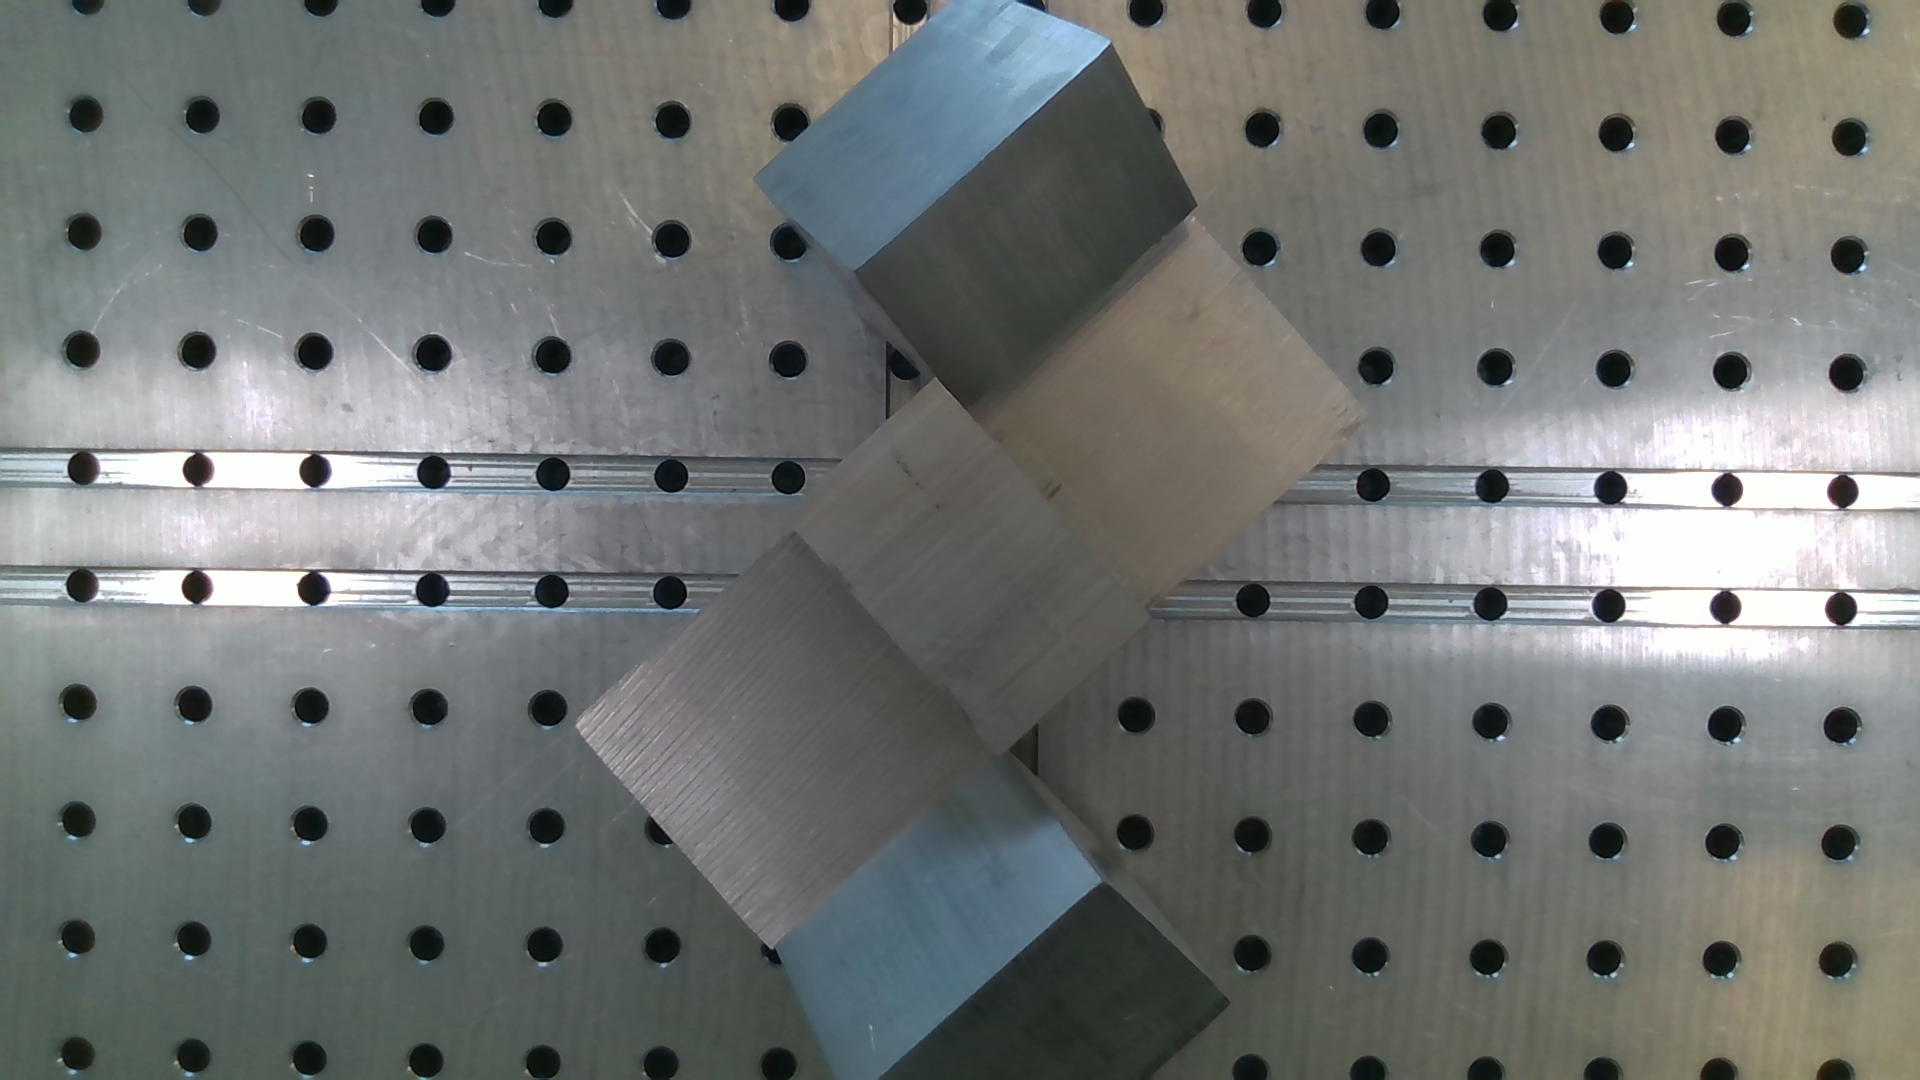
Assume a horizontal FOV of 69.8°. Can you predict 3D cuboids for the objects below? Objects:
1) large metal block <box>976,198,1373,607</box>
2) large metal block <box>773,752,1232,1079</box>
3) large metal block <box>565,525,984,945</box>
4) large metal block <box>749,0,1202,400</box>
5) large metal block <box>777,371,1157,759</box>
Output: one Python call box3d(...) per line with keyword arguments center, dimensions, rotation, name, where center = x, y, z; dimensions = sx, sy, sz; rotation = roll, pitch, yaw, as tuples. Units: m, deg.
box3d(center=(0.052, -0.037, 0.385), dimensions=(0.080, 0.050, 0.080), rotation=(-42, 89, 1), name="large metal block")
box3d(center=(0.012, 0.114, 0.364), dimensions=(0.080, 0.050, 0.080), rotation=(-41, 130, 0), name="large metal block")
box3d(center=(-0.047, 0.050, 0.385), dimensions=(0.080, 0.050, 0.080), rotation=(-41, 90, -1), name="large metal block")
box3d(center=(0.002, -0.093, 0.362), dimensions=(0.080, 0.080, 0.050), rotation=(-41, 129, 0), name="large metal block")
box3d(center=(0.002, 0.006, 0.370), dimensions=(0.050, 0.080, 0.080), rotation=(-42, 90, 1), name="large metal block")
